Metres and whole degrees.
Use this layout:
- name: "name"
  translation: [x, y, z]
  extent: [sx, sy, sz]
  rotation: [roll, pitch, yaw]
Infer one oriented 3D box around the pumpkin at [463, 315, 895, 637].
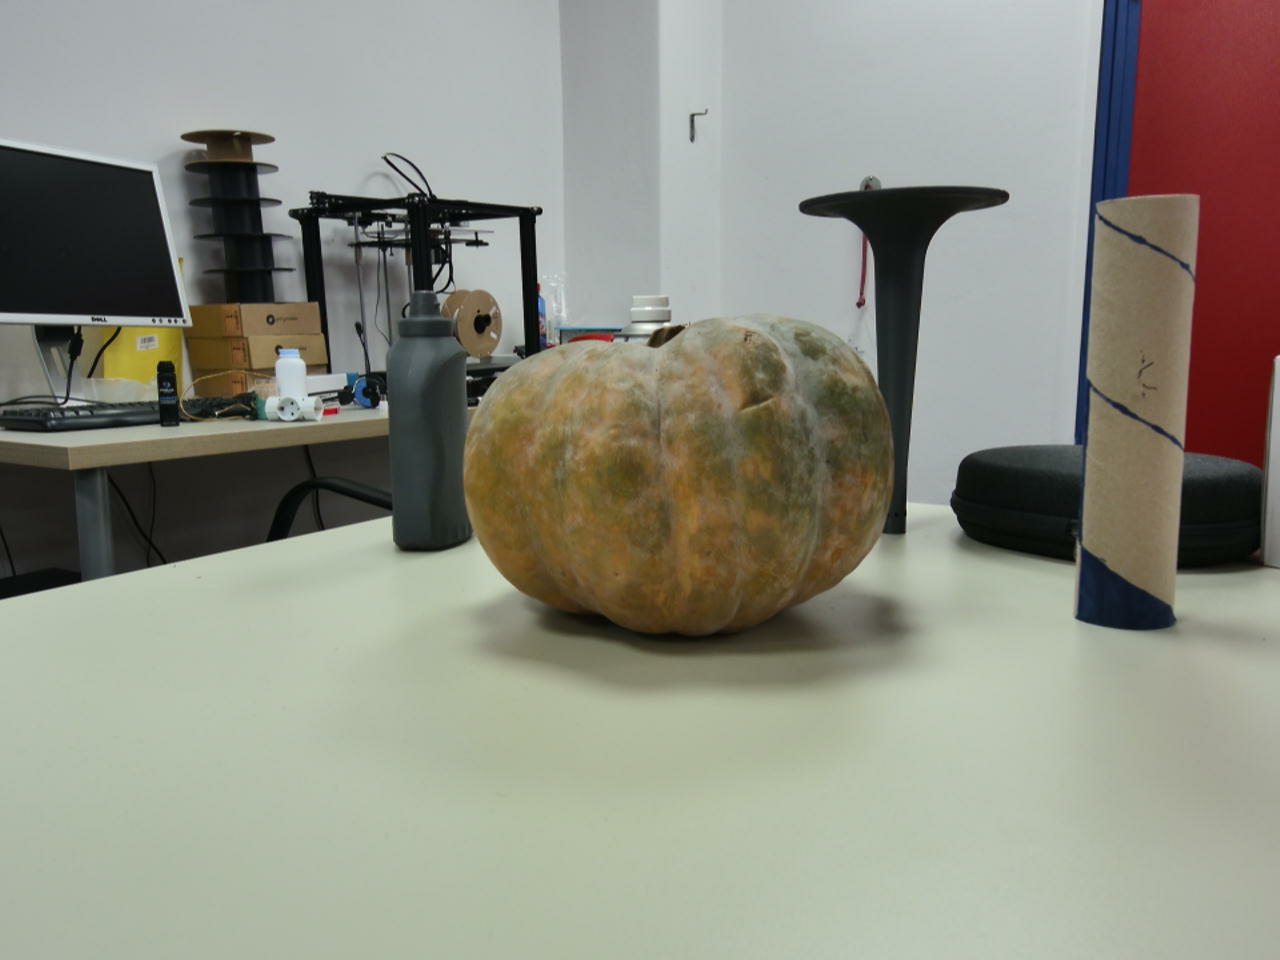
- name: "pumpkin"
  translation: [0.019, -0.007, 0.571]
  extent: [0.252, 0.168, 0.252]
  rotation: [0, 7, 0]
